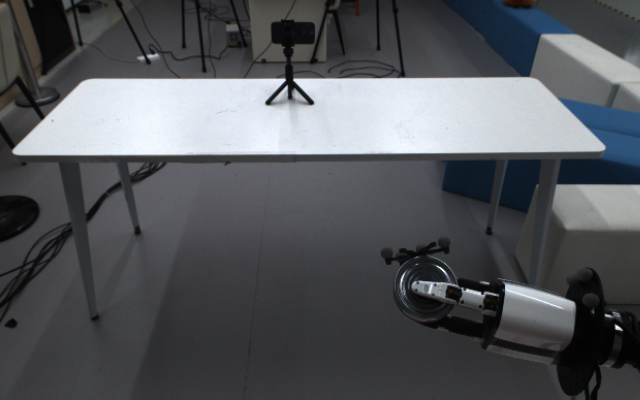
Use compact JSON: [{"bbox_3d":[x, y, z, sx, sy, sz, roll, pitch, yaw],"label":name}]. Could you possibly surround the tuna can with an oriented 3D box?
[{"bbox_3d":[0.144,0.116,0.647,0.085,0.034,0.085,-4,68,9],"label":"tuna can"}]
